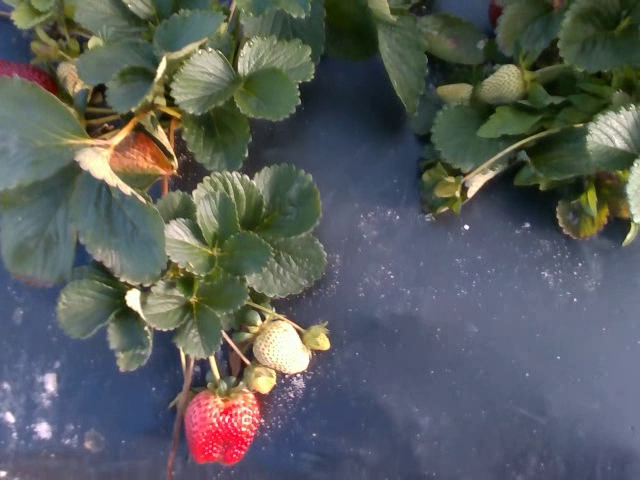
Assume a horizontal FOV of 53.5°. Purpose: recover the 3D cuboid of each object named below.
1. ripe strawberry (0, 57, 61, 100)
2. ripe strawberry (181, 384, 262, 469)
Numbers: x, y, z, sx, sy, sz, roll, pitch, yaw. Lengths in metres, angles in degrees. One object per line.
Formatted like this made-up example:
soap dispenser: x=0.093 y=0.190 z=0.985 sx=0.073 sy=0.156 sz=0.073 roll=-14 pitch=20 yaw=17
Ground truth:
ripe strawberry: x=-0.233 y=-0.110 z=0.468 sx=0.070 sy=0.058 sz=0.057 roll=30 pitch=14 yaw=-25
ripe strawberry: x=-0.063 y=0.124 z=0.395 sx=0.047 sy=0.050 sz=0.034 roll=6 pitch=6 yaw=6
